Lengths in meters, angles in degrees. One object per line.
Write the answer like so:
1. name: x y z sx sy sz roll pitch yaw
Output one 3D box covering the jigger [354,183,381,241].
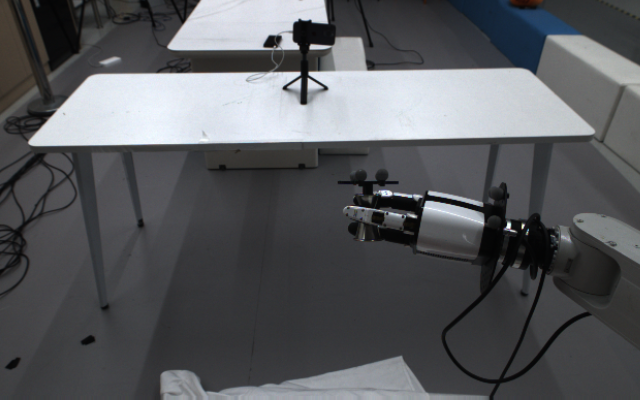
1. jigger: 0.071 0.024 0.719 0.043 0.071 0.043 -1 2 0
